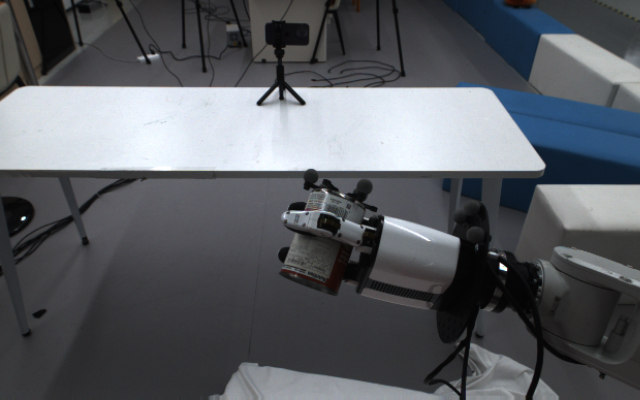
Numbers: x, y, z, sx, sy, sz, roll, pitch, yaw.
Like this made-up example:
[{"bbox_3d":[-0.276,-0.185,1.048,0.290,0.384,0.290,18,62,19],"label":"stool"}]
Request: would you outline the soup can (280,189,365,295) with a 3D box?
[{"bbox_3d":[0.006,0.046,0.537,0.067,0.067,0.101,15,75,18],"label":"soup can"}]
